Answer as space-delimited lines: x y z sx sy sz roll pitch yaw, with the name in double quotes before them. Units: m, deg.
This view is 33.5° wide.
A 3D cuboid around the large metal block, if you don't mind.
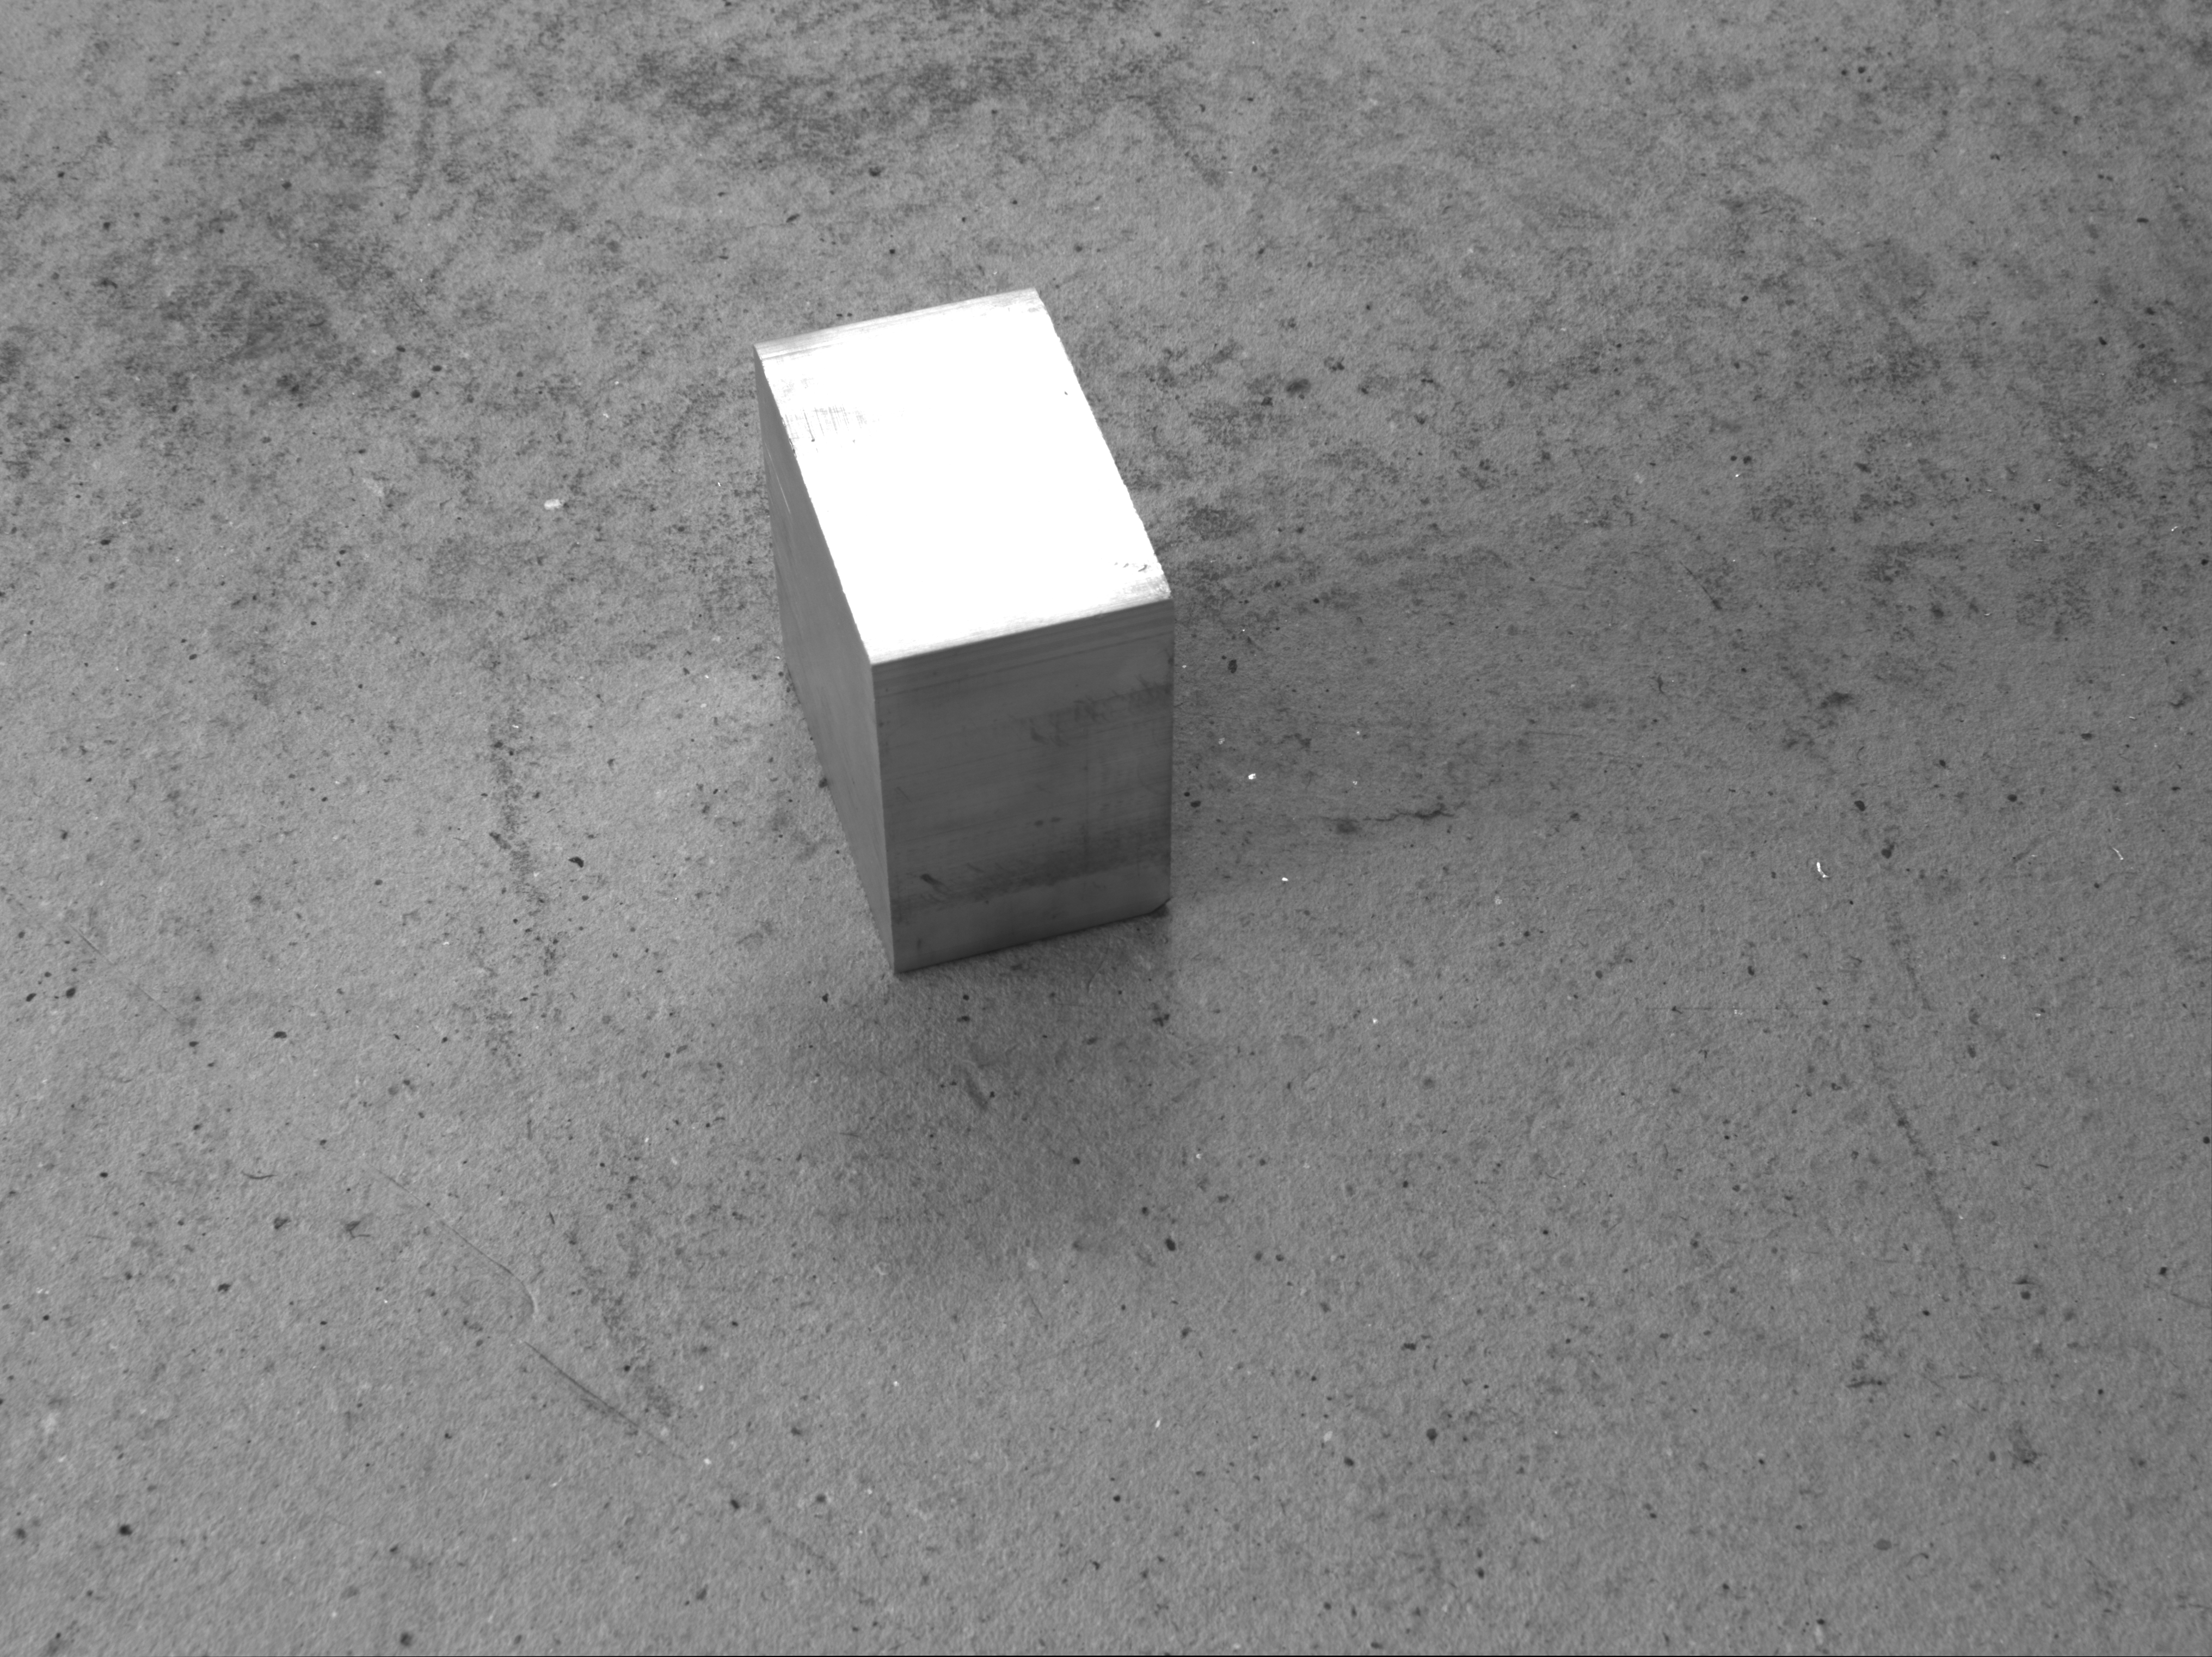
"large metal block" -0.025 -0.034 0.635 0.050 0.080 0.080 -13 51 -11
